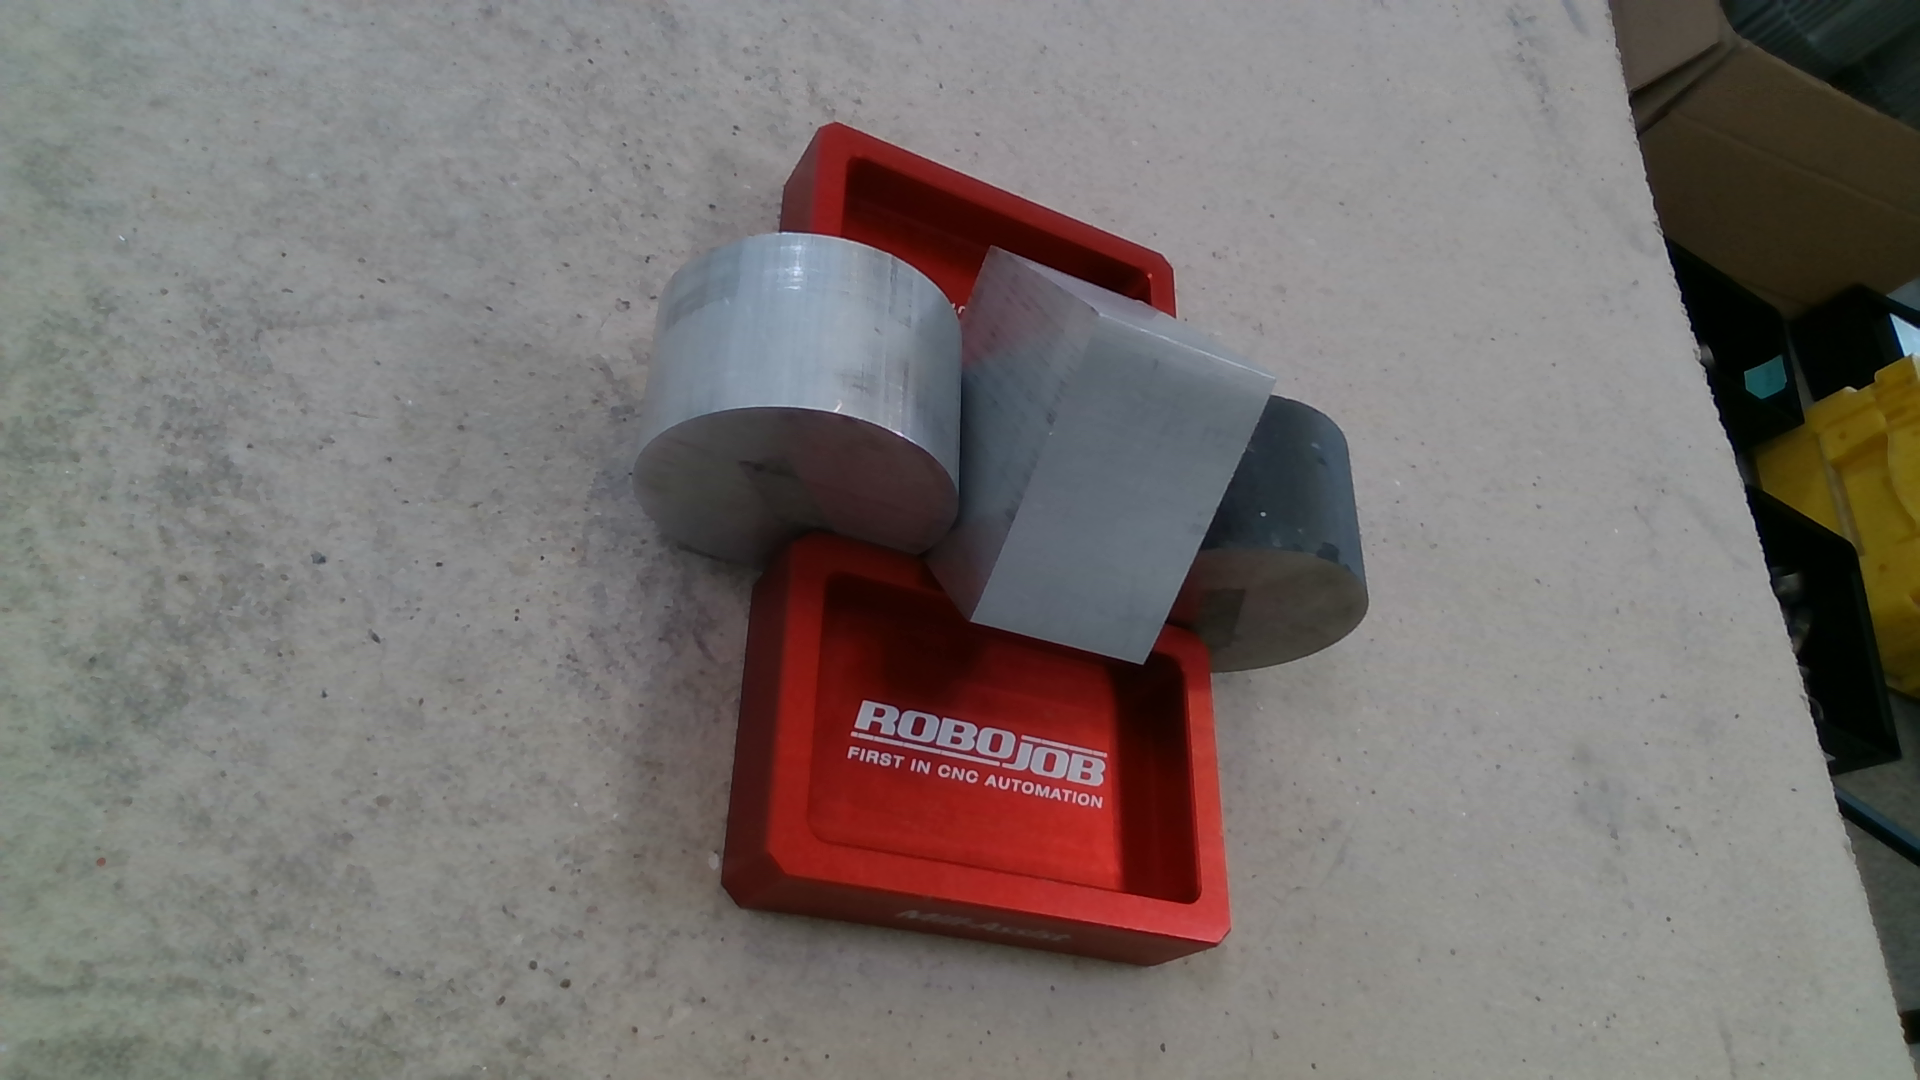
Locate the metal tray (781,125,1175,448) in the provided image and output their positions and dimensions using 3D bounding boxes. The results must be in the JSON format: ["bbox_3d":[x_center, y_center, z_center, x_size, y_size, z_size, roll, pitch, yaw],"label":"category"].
[{"bbox_3d":[0.007,-0.066,0.430,0.130,0.030,0.090,16,58,-24],"label":"metal tray"}]

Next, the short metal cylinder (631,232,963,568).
[{"bbox_3d":[-0.040,-0.032,0.351,0.080,0.080,0.050,16,58,-24],"label":"short metal cylinder"}]

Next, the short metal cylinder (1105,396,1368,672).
[{"bbox_3d":[0.076,0.000,0.405,0.080,0.080,0.050,16,58,-24],"label":"short metal cylinder"}]

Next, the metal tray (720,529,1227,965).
[{"bbox_3d":[0.007,0.057,0.365,0.130,0.030,0.090,16,58,-24],"label":"metal tray"}]

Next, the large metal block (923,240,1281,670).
[{"bbox_3d":[0.027,-0.024,0.362,0.050,0.080,0.080,15,18,-24],"label":"large metal block"}]
